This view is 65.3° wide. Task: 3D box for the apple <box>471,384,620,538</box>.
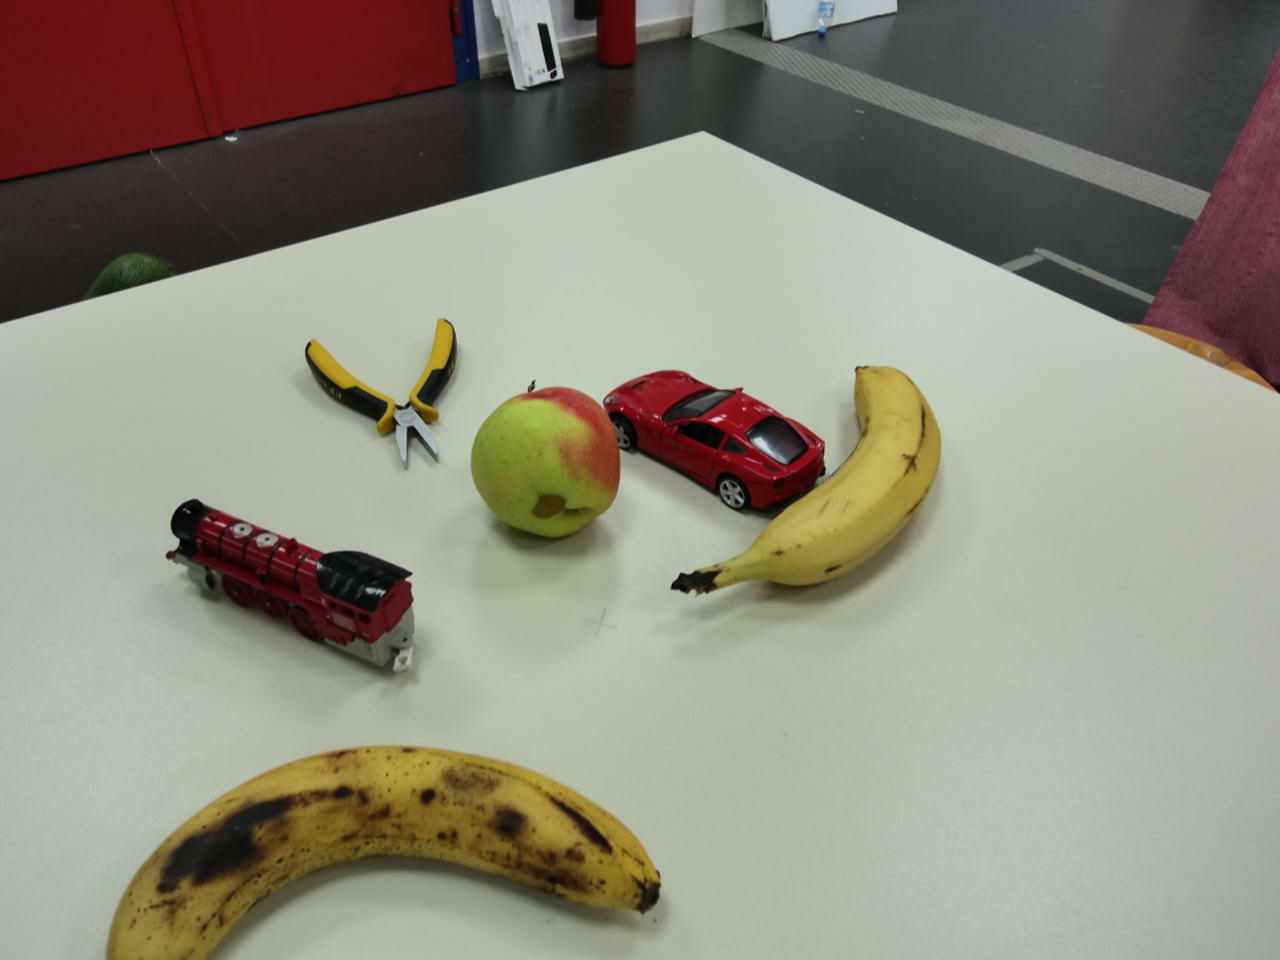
[{"bbox_3d":[-0.046,-0.011,0.504,0.075,0.074,0.075,22,42,25],"label":"apple"}]
